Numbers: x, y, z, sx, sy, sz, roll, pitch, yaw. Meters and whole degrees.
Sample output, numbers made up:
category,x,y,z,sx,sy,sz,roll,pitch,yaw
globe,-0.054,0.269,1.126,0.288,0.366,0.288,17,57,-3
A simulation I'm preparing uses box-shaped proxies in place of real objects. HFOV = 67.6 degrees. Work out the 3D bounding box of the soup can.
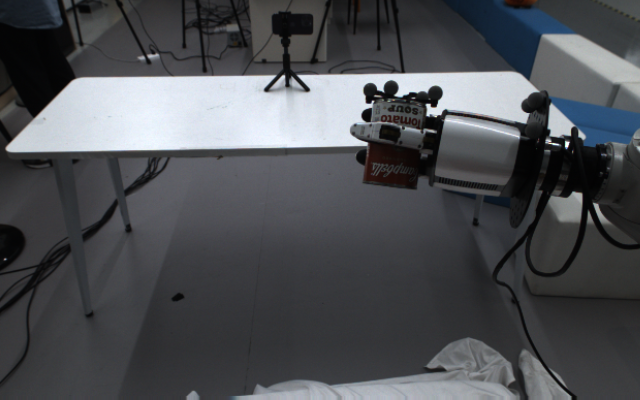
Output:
category,x,y,z,sx,sy,sz,roll,pitch,yaw
soup can,0.093,-0.066,0.591,0.067,0.101,0.067,7,3,0
